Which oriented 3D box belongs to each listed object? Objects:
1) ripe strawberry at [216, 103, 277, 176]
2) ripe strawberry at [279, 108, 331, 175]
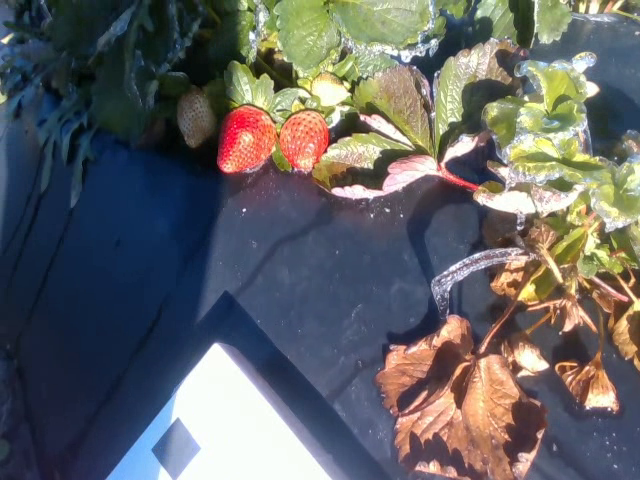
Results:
[{"bbox_3d":[-0.048,-0.054,0.340,0.036,0.040,0.052,-1,40,24],"label":"ripe strawberry"},{"bbox_3d":[-0.009,-0.058,0.342,0.036,0.041,0.030,-26,-27,18],"label":"ripe strawberry"}]
